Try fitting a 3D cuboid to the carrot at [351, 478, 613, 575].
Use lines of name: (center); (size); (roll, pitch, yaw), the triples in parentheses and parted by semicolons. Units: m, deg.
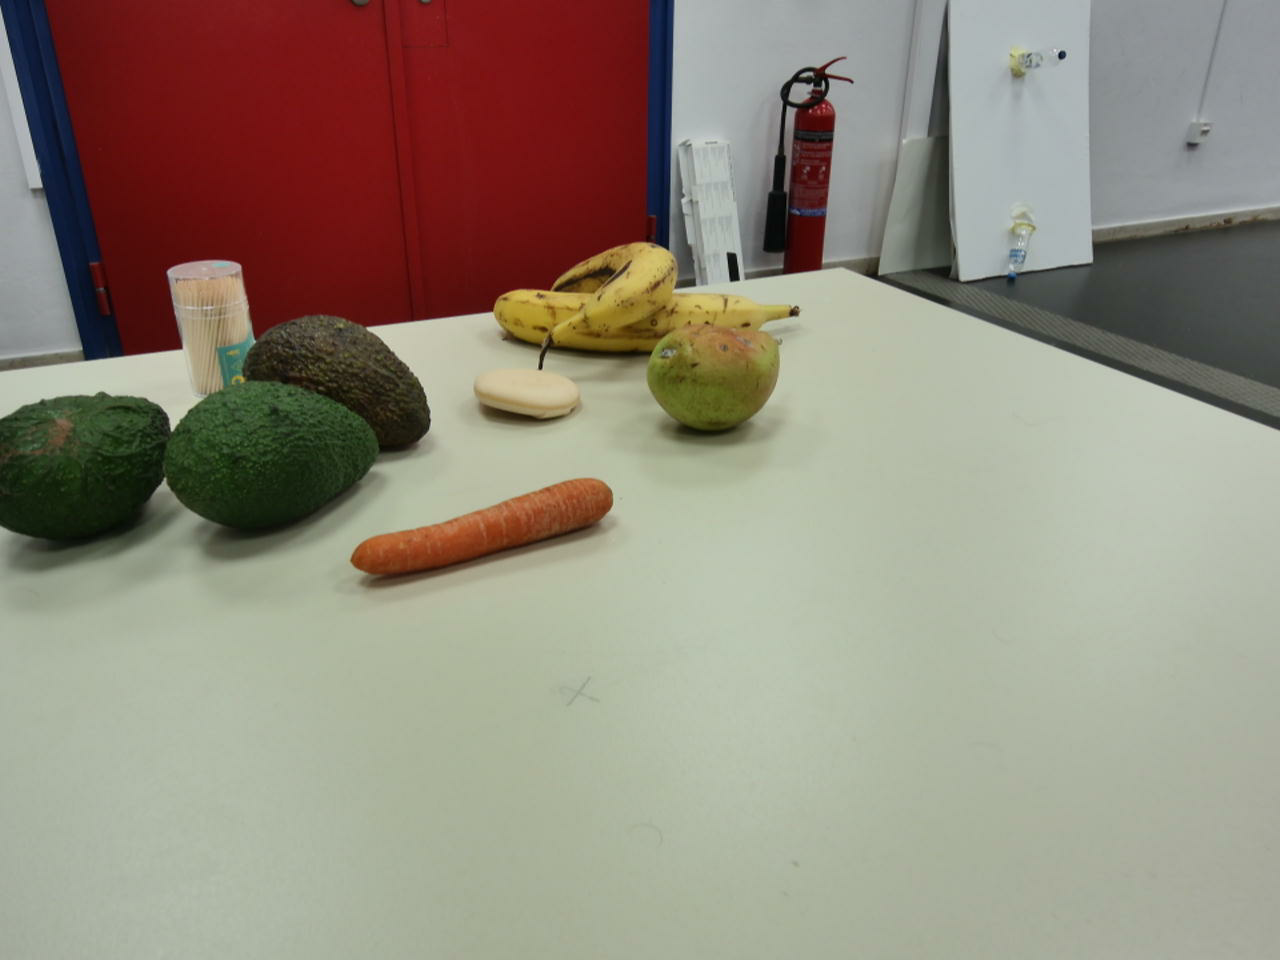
carrot: (-0.066, 0.020, 0.446); (0.122, 0.023, 0.024); (-13, 27, -26)
